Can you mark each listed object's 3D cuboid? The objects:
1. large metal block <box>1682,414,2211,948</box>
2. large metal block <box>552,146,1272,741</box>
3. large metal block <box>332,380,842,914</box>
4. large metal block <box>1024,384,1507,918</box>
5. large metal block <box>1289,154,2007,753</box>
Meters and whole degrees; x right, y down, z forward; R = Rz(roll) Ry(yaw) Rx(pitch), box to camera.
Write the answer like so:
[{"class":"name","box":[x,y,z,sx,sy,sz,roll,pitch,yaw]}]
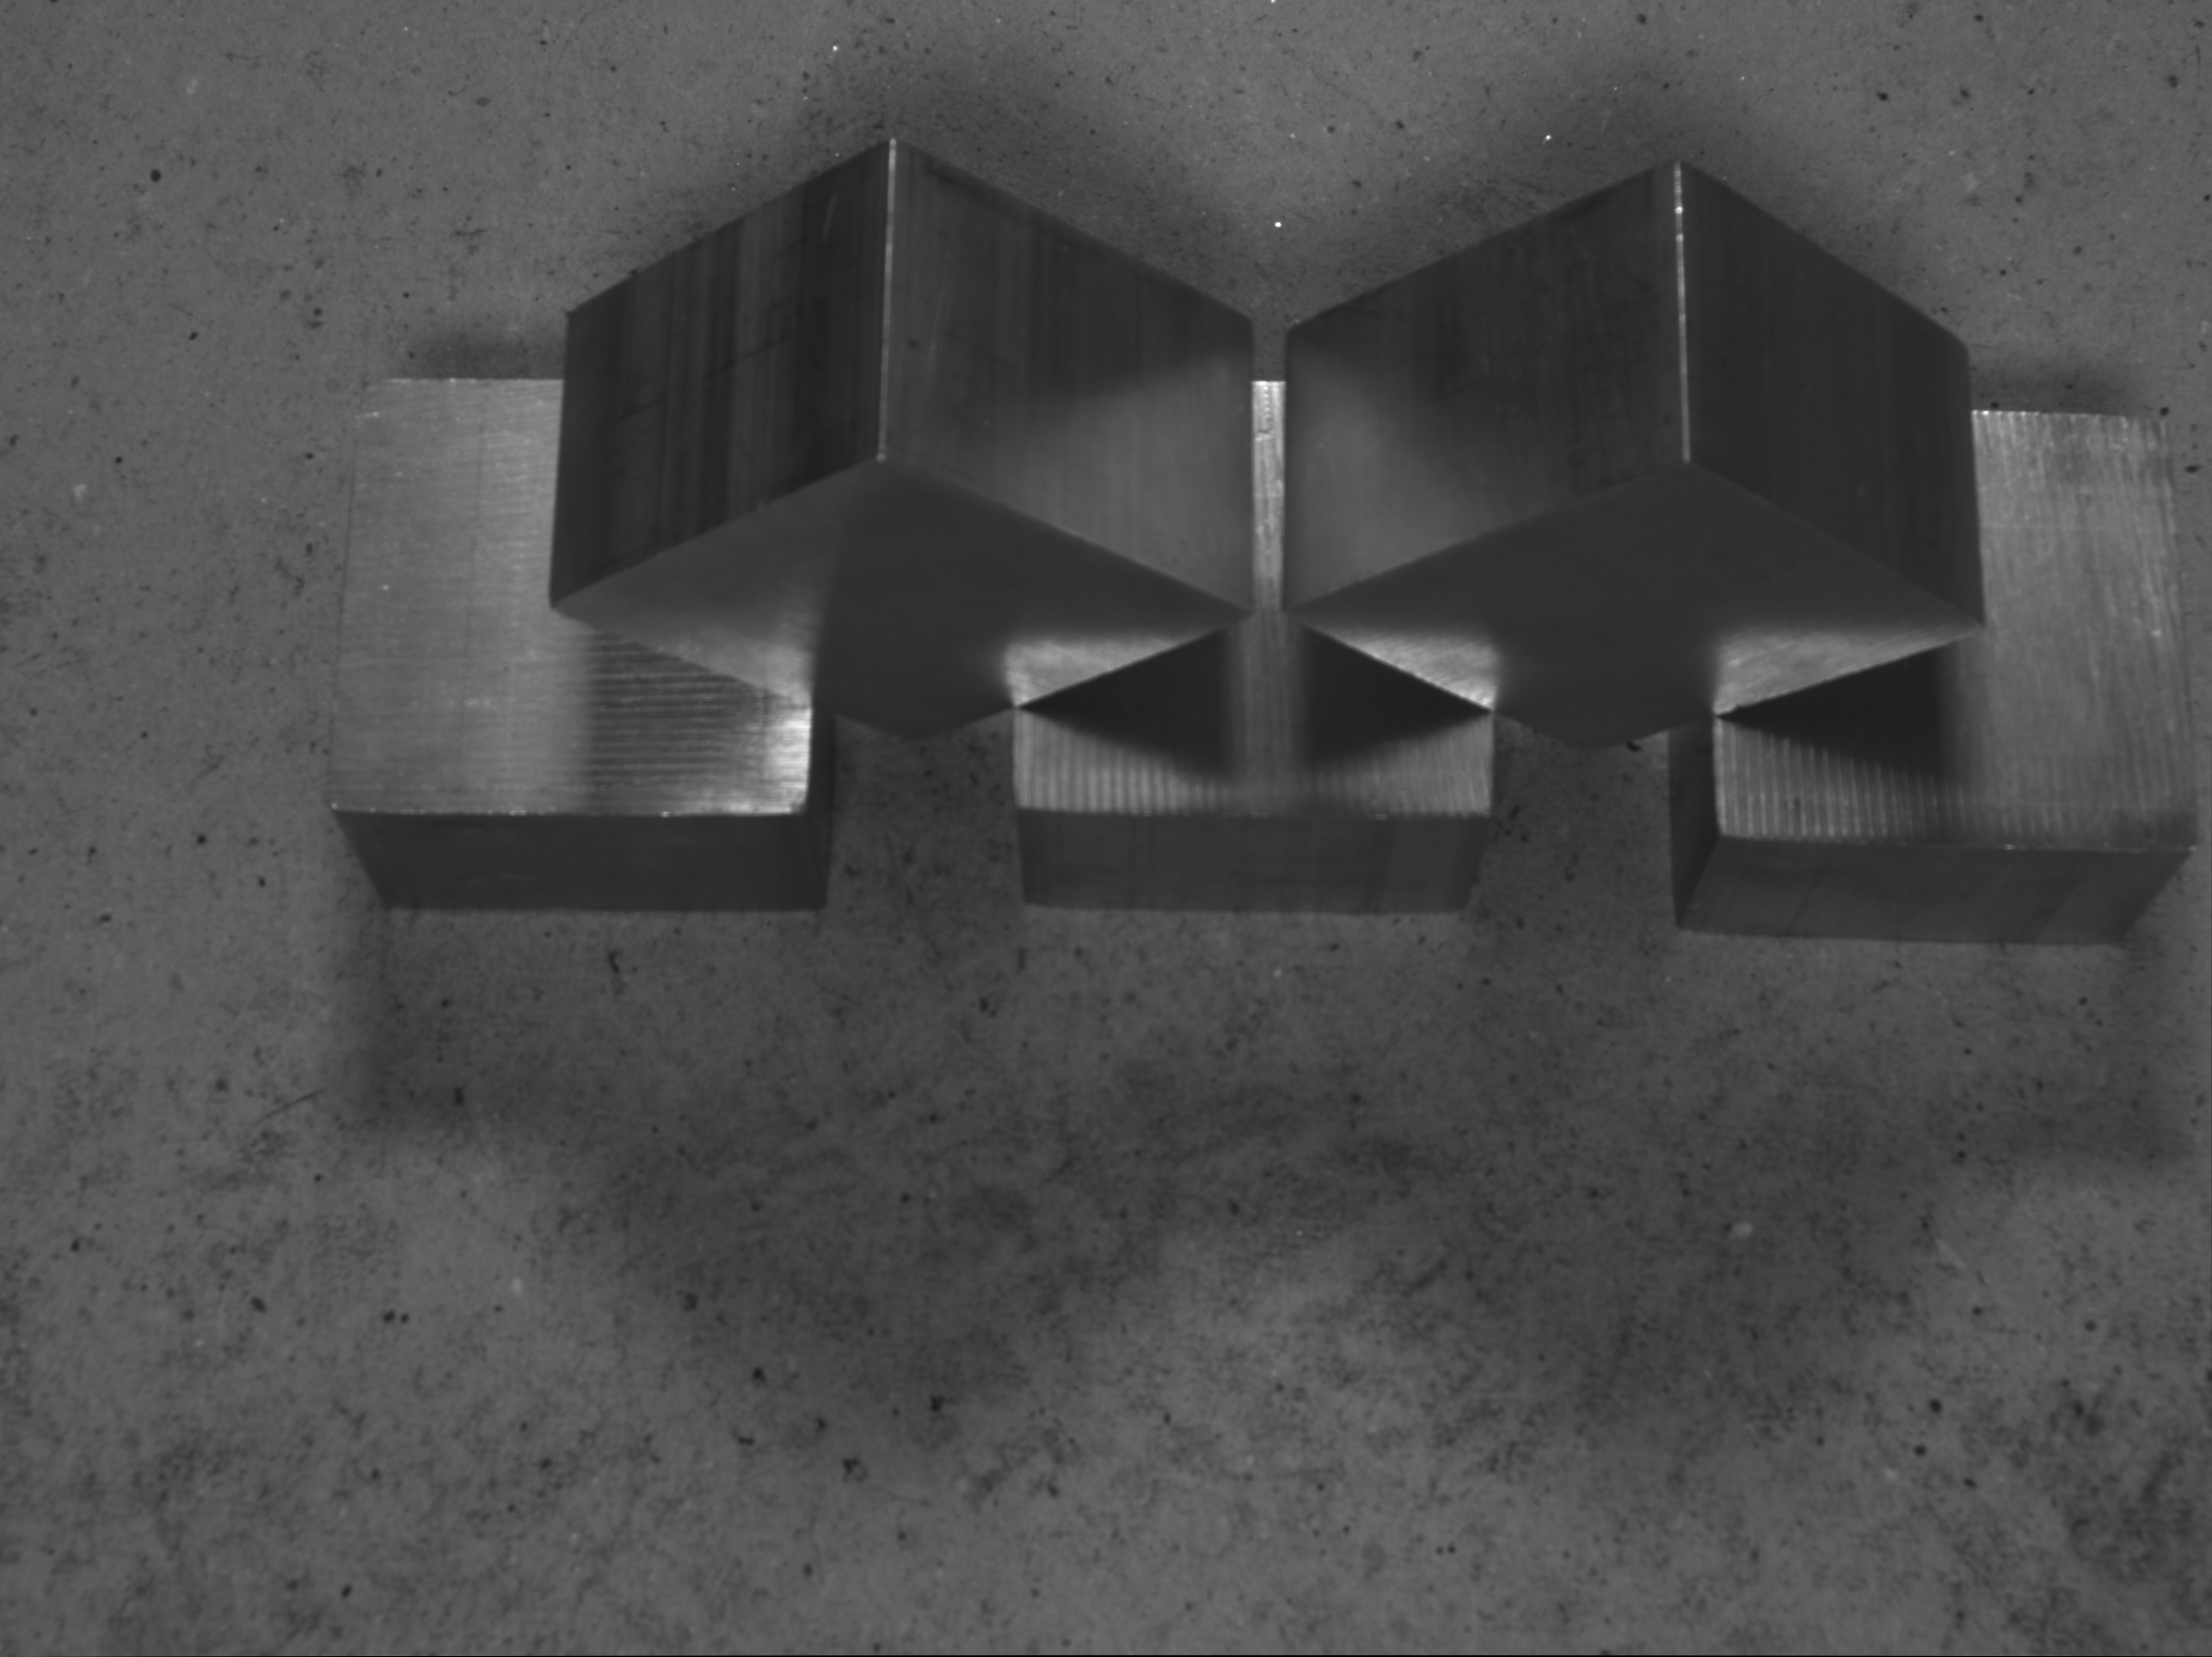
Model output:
[{"class":"large metal block","box":[0.144,-0.026,0.642,0.080,0.050,0.080,1,70,1]},{"class":"large metal block","box":[-0.031,-0.058,0.584,0.080,0.080,0.050,18,63,-42]},{"class":"large metal block","box":[-0.088,-0.031,0.643,0.080,0.050,0.080,0,70,0]},{"class":"large metal block","box":[0.027,-0.031,0.643,0.080,0.050,0.080,1,70,0]},{"class":"large metal block","box":[0.086,-0.056,0.586,0.080,0.080,0.050,-18,62,42]}]
